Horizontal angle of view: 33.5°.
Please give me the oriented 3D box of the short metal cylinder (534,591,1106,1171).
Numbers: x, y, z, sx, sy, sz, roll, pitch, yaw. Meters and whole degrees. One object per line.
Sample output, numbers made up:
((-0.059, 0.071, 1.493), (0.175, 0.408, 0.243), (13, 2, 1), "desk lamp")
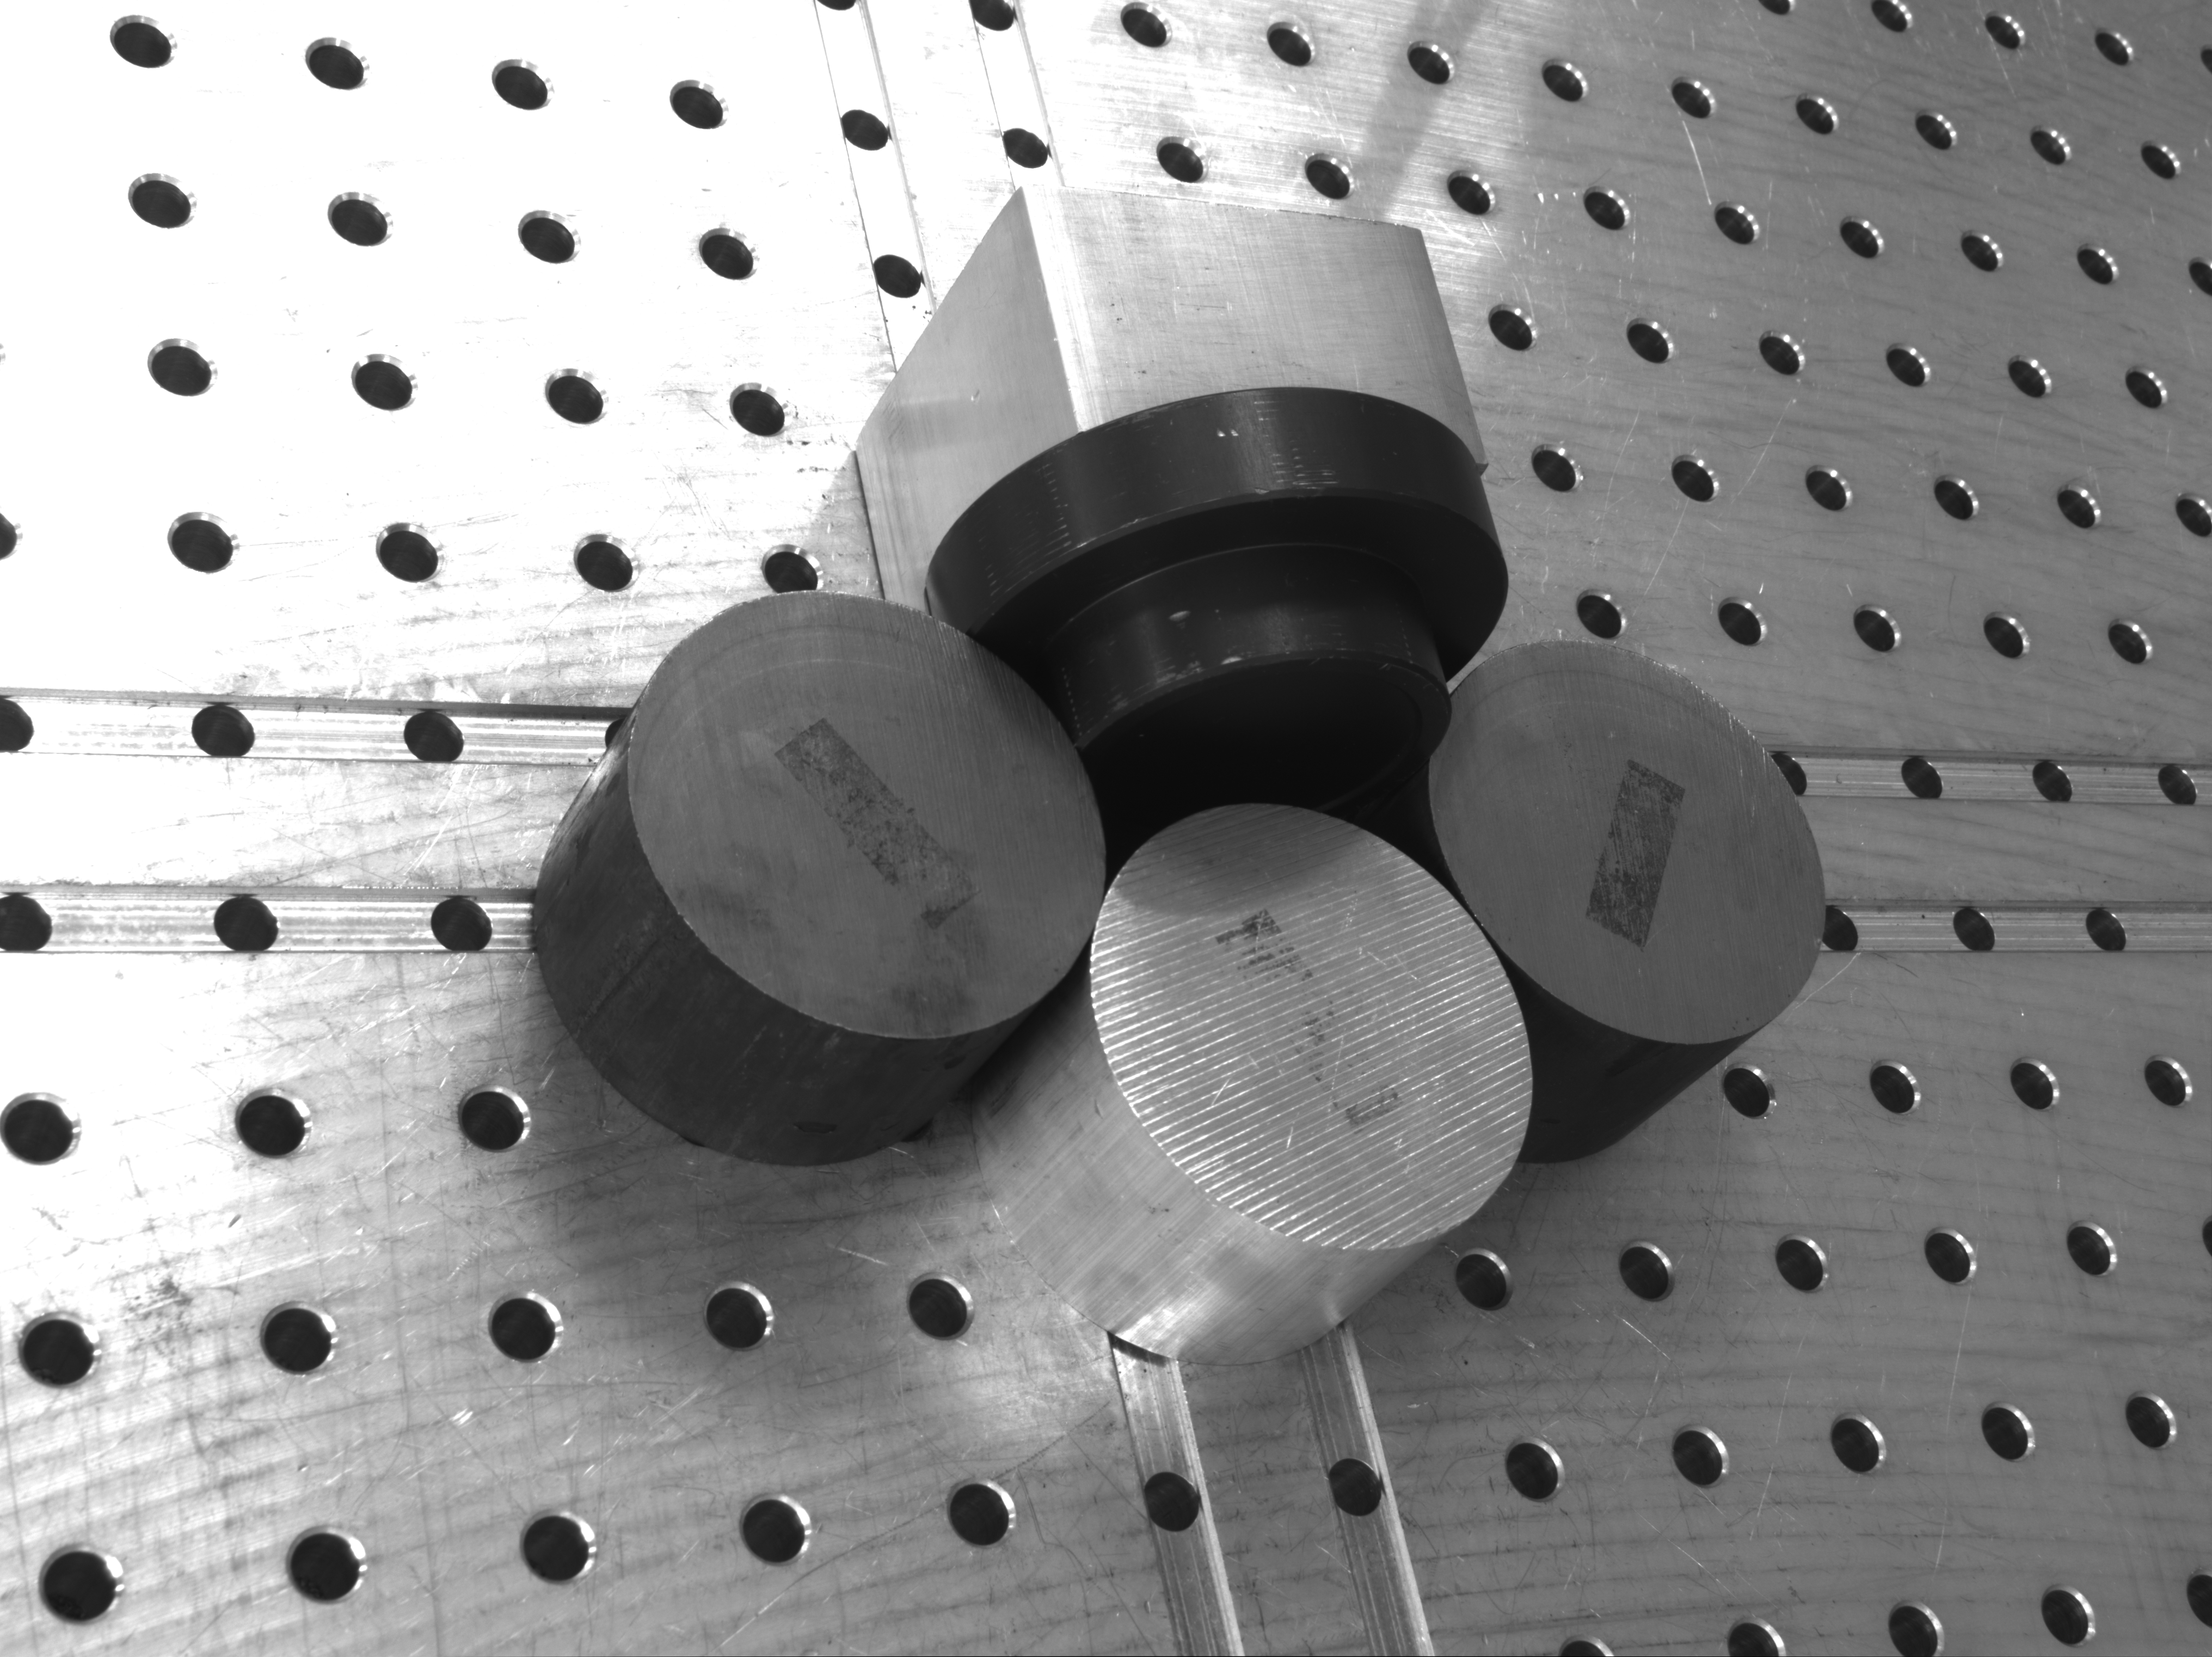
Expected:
((-0.047, 0.009, 0.597), (0.080, 0.050, 0.080), (13, 56, -21), "short metal cylinder")

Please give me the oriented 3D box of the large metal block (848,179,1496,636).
((0.010, -0.067, 0.653), (0.080, 0.080, 0.050), (1, 61, -28), "large metal block")

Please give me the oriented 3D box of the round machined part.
((0.022, -0.030, 0.623), (0.098, 0.098, 0.042), (2, 60, -27), "round machined part")

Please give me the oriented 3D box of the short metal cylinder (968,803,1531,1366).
((0.024, 0.043, 0.613), (0.080, 0.050, 0.080), (13, 56, -21), "short metal cylinder")

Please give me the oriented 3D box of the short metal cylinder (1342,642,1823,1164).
((0.081, 0.014, 0.662), (0.080, 0.050, 0.080), (13, 56, -21), "short metal cylinder")
